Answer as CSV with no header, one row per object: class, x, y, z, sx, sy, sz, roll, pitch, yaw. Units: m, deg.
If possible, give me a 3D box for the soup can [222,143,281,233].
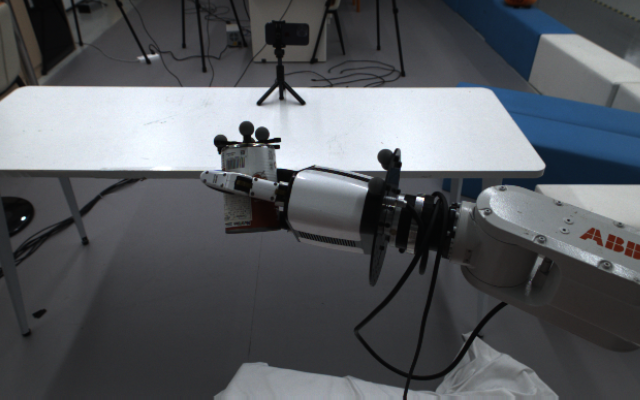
soup can,-0.082,-0.012,0.586,0.067,0.101,0.067,-5,-5,0
